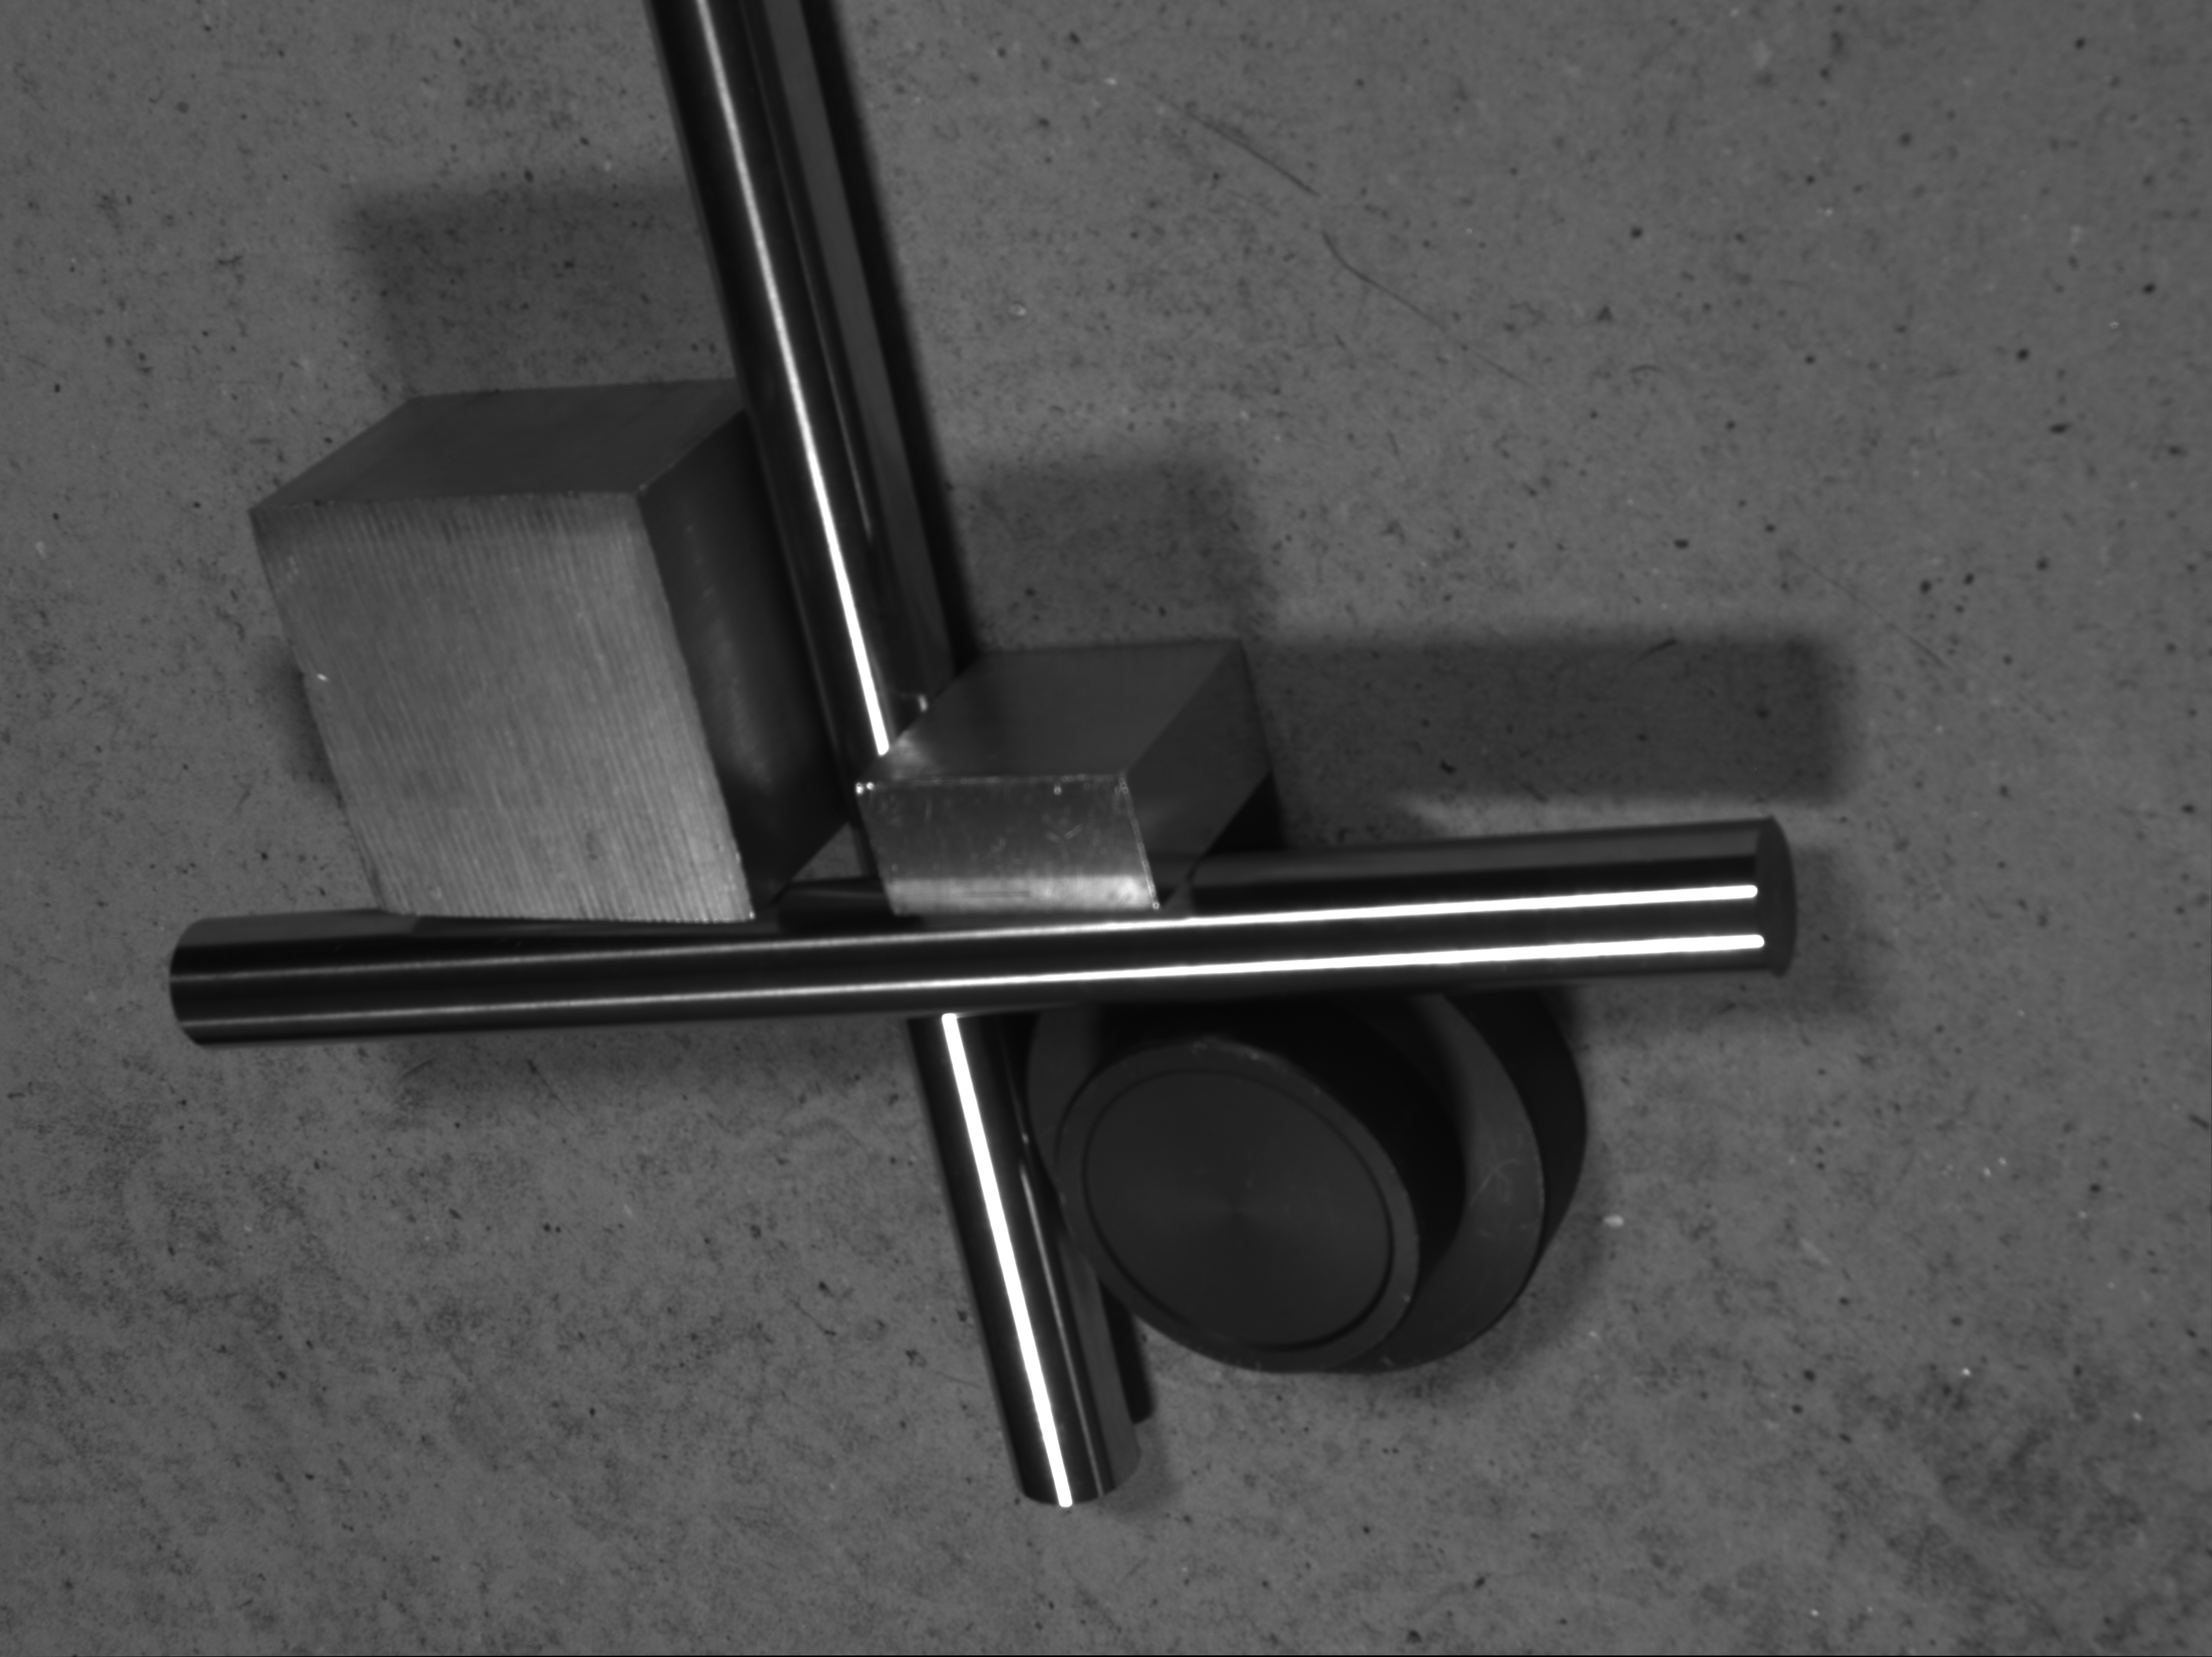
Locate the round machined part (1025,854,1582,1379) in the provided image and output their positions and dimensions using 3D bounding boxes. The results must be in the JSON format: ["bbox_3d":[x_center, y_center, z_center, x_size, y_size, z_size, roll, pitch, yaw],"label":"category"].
[{"bbox_3d":[0.030,0.056,0.638,0.098,0.042,0.098,12,123,20],"label":"round machined part"}]

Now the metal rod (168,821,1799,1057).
[{"bbox_3d":[-0.032,0.021,0.628,0.299,0.025,0.025,-4,116,24],"label":"metal rod"}]

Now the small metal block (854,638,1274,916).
[{"bbox_3d":[-0.006,-0.009,0.614,0.050,0.050,0.025,-1,118,27],"label":"small metal block"}]

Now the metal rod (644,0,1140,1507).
[{"bbox_3d":[-0.034,-0.009,0.643,0.025,0.025,0.300,1,119,26],"label":"metal rod"}]

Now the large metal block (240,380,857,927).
[{"bbox_3d":[-0.094,-0.031,0.643,0.080,0.050,0.080,1,119,26],"label":"large metal block"}]
